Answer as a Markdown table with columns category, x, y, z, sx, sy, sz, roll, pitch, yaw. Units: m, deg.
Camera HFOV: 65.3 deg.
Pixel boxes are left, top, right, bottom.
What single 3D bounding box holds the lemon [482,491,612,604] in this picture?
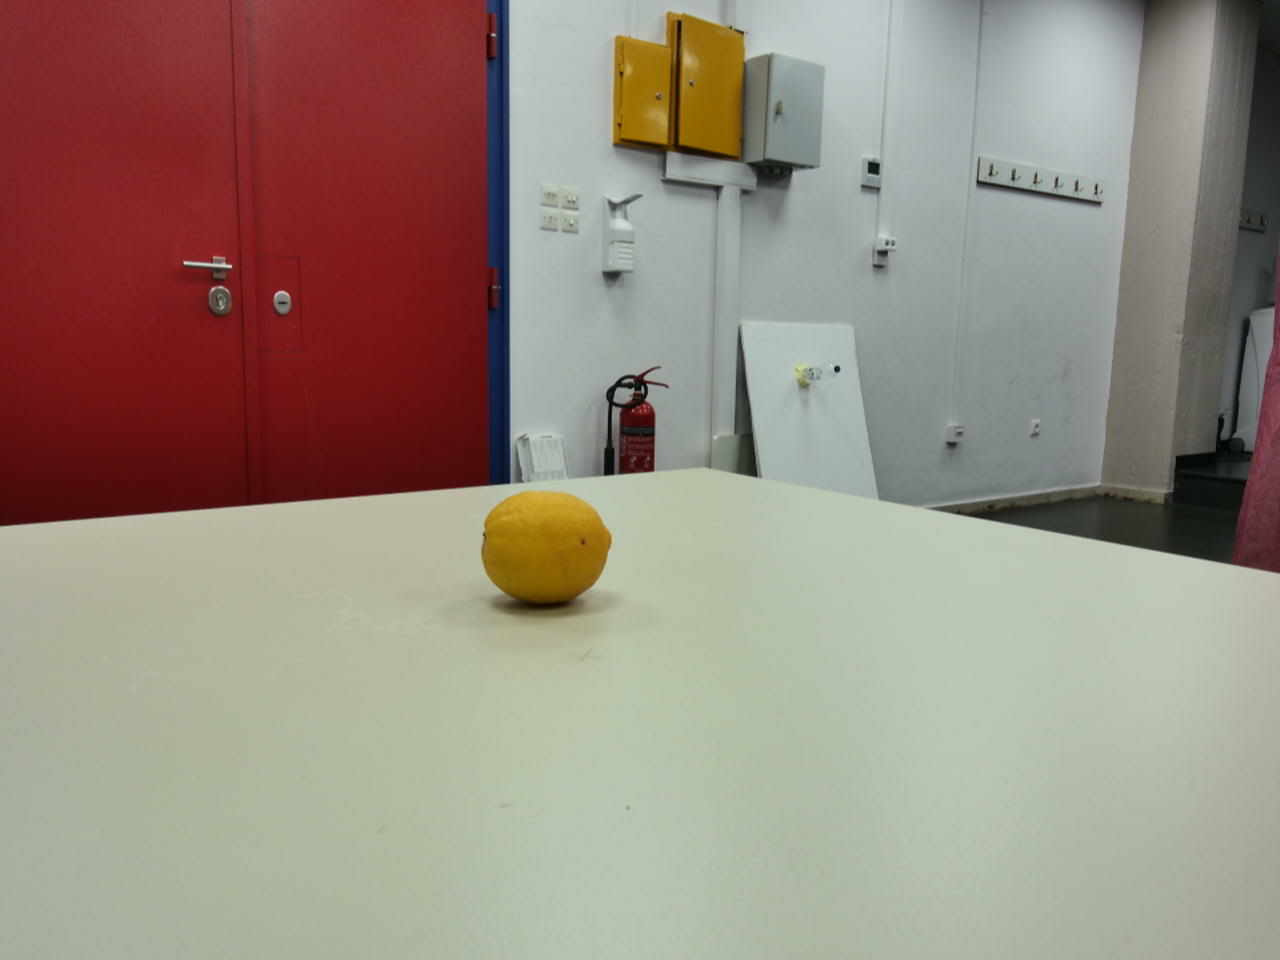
| category | x | y | z | sx | sy | sz | roll | pitch | yaw |
| --- | --- | --- | --- | --- | --- | --- | --- | --- | --- |
| lemon | -0.050 | 0.036 | 0.529 | 0.067 | 0.059 | 0.061 | 1 | 7 | 5 |
